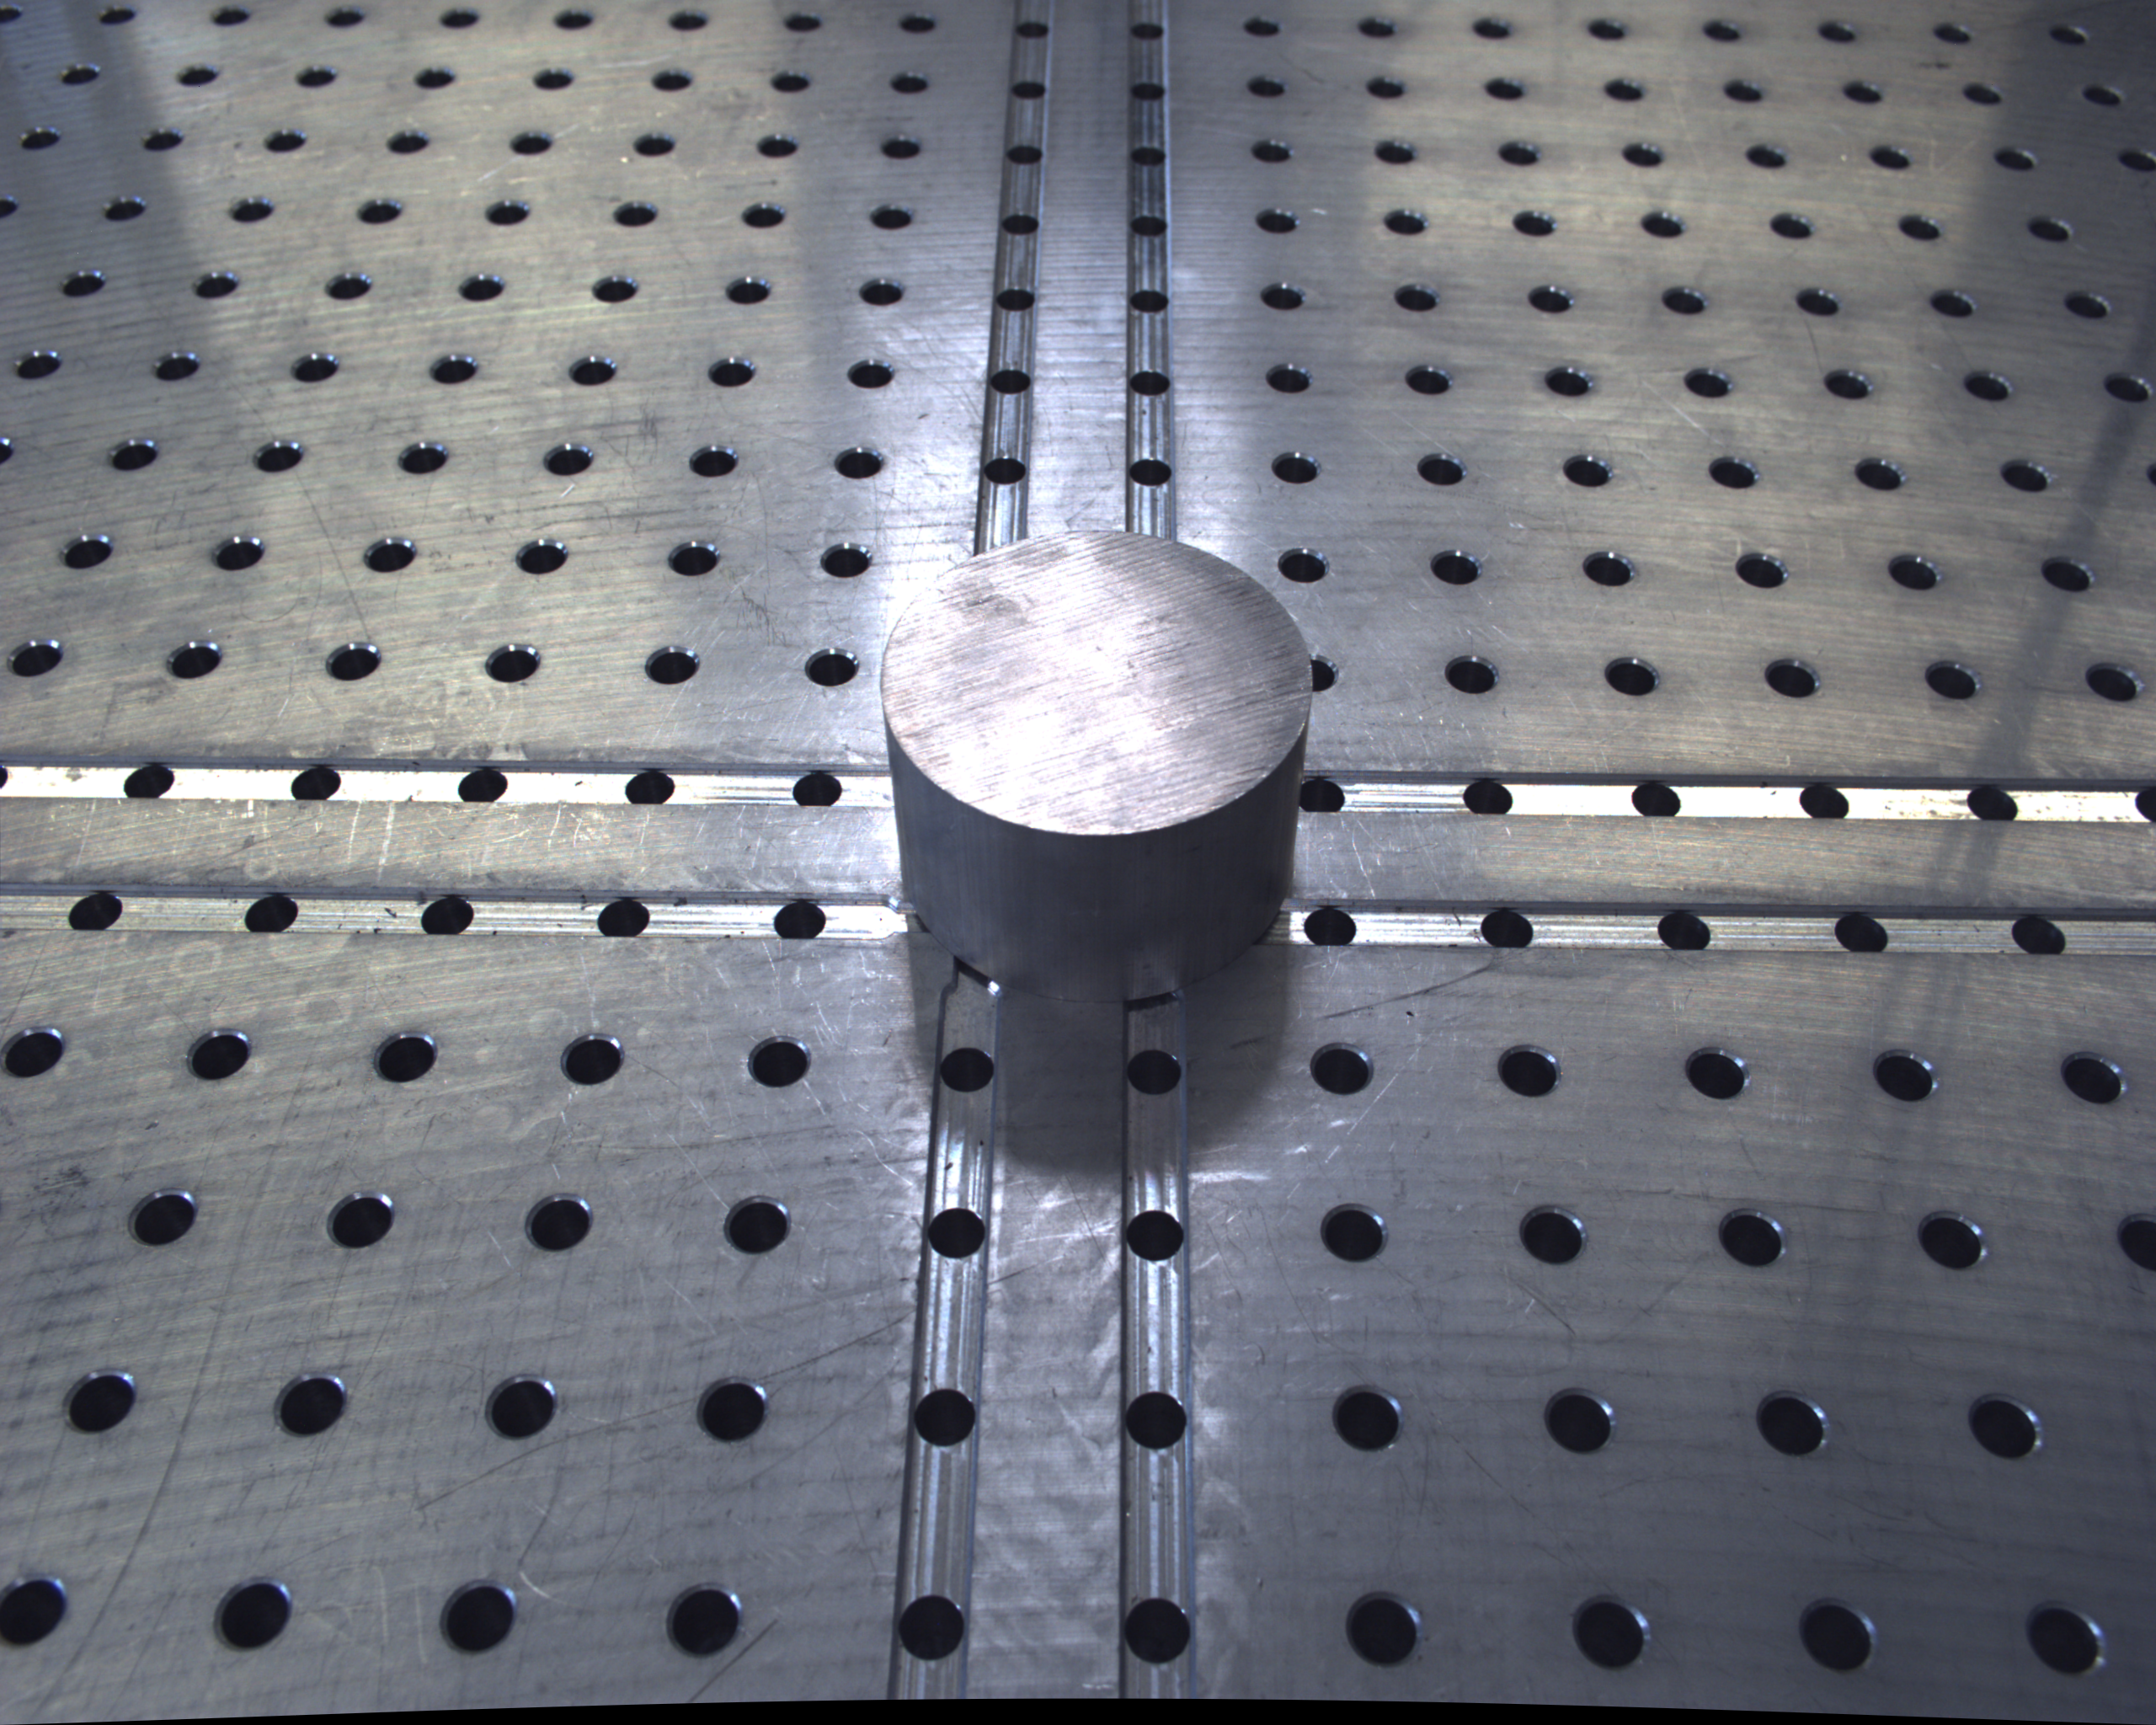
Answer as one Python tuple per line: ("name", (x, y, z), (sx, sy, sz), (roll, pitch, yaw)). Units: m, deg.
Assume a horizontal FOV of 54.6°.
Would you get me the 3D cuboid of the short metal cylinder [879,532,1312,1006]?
("short metal cylinder", (0.003, -0.019, 0.407), (0.080, 0.050, 0.080), (0, 50, 0))
